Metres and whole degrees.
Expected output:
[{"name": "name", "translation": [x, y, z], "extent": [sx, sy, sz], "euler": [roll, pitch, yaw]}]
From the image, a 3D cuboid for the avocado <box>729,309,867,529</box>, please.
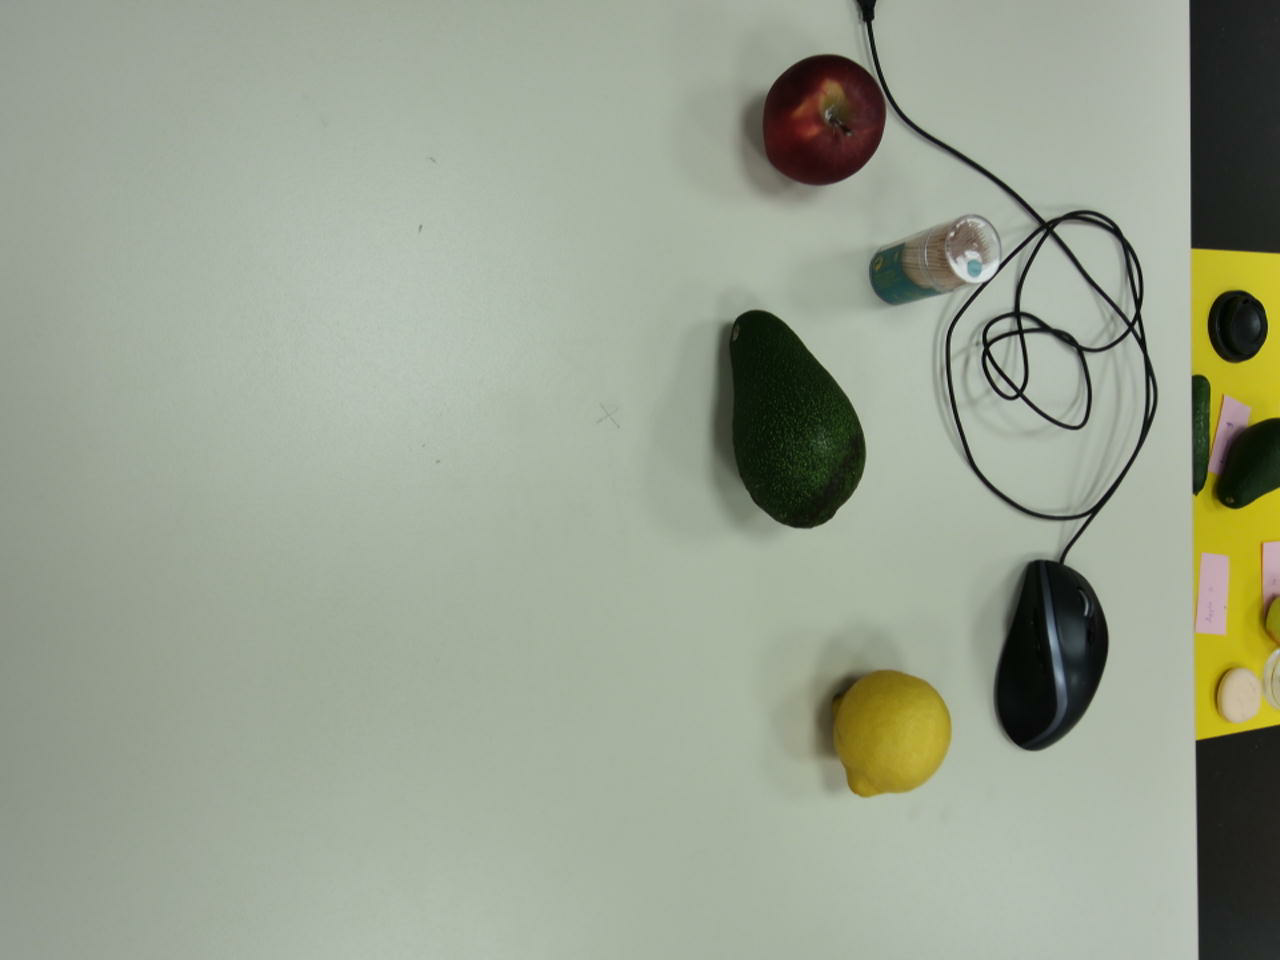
[{"name": "avocado", "translation": [0.091, -0.034, 0.562], "extent": [0.074, 0.076, 0.123], "euler": [6, 88, -22]}]
